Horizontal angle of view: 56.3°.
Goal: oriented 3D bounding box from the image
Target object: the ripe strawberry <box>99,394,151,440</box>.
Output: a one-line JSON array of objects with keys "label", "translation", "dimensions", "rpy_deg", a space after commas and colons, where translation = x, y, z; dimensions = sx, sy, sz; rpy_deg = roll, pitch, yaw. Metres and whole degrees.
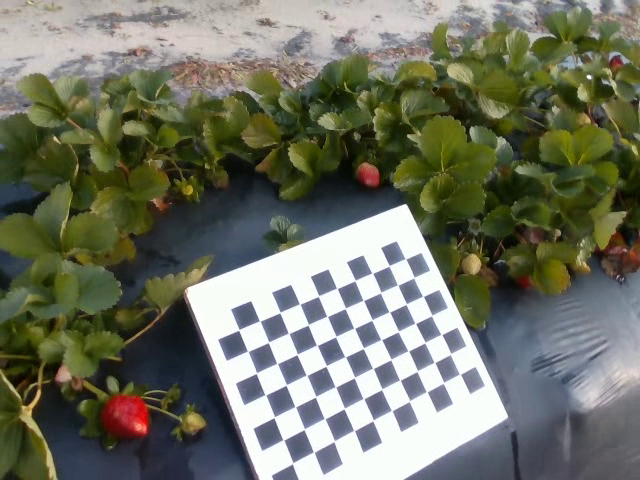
[{"label": "ripe strawberry", "translation": [-0.179, 0.173, 0.570], "dimensions": [0.057, 0.043, 0.052], "rpy_deg": [10, -37, 53]}]
